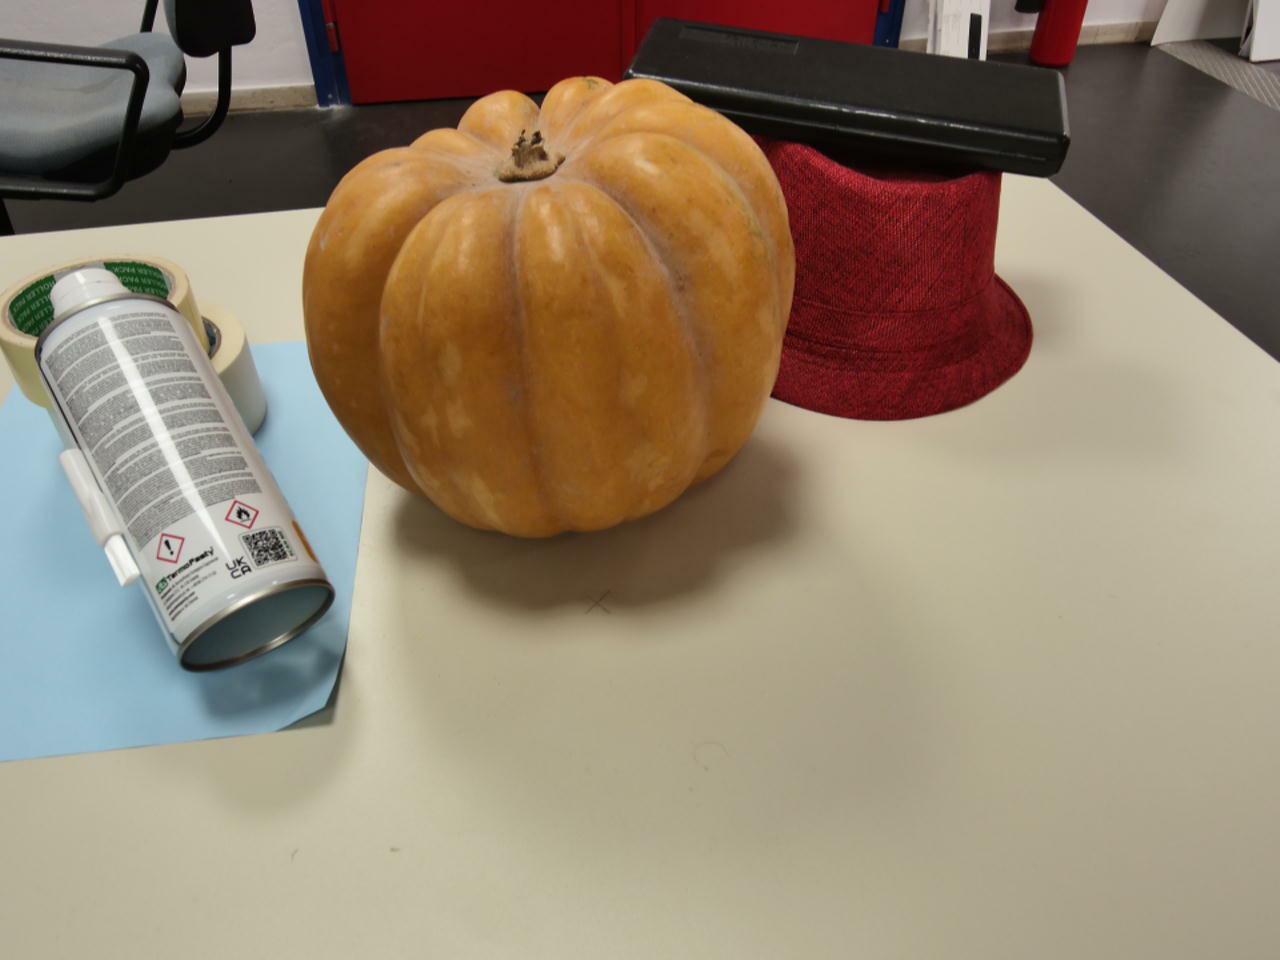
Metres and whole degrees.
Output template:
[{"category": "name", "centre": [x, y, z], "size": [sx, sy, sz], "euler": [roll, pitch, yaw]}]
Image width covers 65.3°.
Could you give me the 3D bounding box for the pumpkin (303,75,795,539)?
[{"category": "pumpkin", "centre": [-0.038, -0.080, 0.478], "size": [0.230, 0.194, 0.230], "euler": [0, 39, 0]}]
